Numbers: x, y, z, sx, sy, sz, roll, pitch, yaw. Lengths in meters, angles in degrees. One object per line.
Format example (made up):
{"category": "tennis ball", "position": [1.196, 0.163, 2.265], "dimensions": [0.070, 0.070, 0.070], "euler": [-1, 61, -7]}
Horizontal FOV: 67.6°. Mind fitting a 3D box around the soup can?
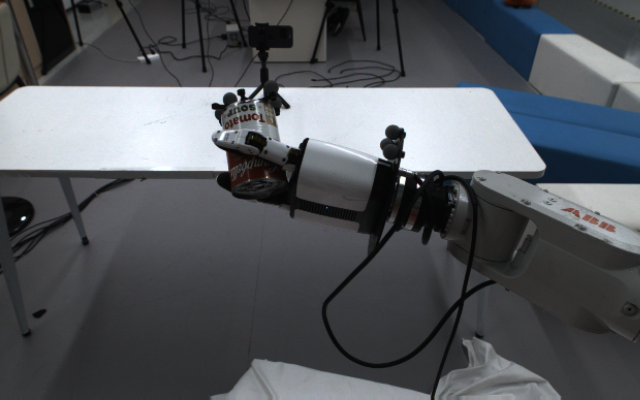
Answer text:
{"category": "soup can", "position": [-0.077, -0.059, 0.578], "dimensions": [0.067, 0.067, 0.101], "euler": [-8, 74, -14]}
